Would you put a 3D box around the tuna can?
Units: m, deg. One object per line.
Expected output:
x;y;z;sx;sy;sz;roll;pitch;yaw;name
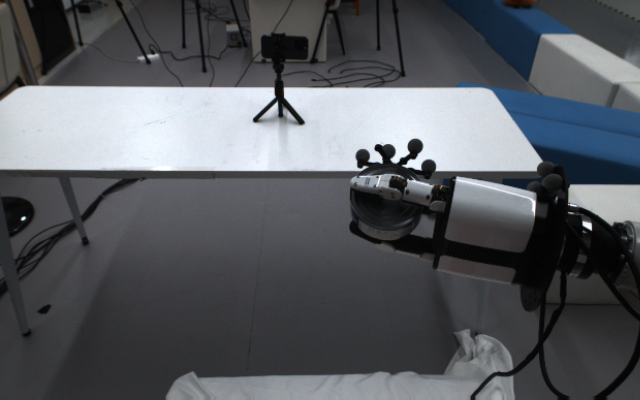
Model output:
0.077;-0.003;0.553;0.085;0.034;0.085;-2;56;3;tuna can
